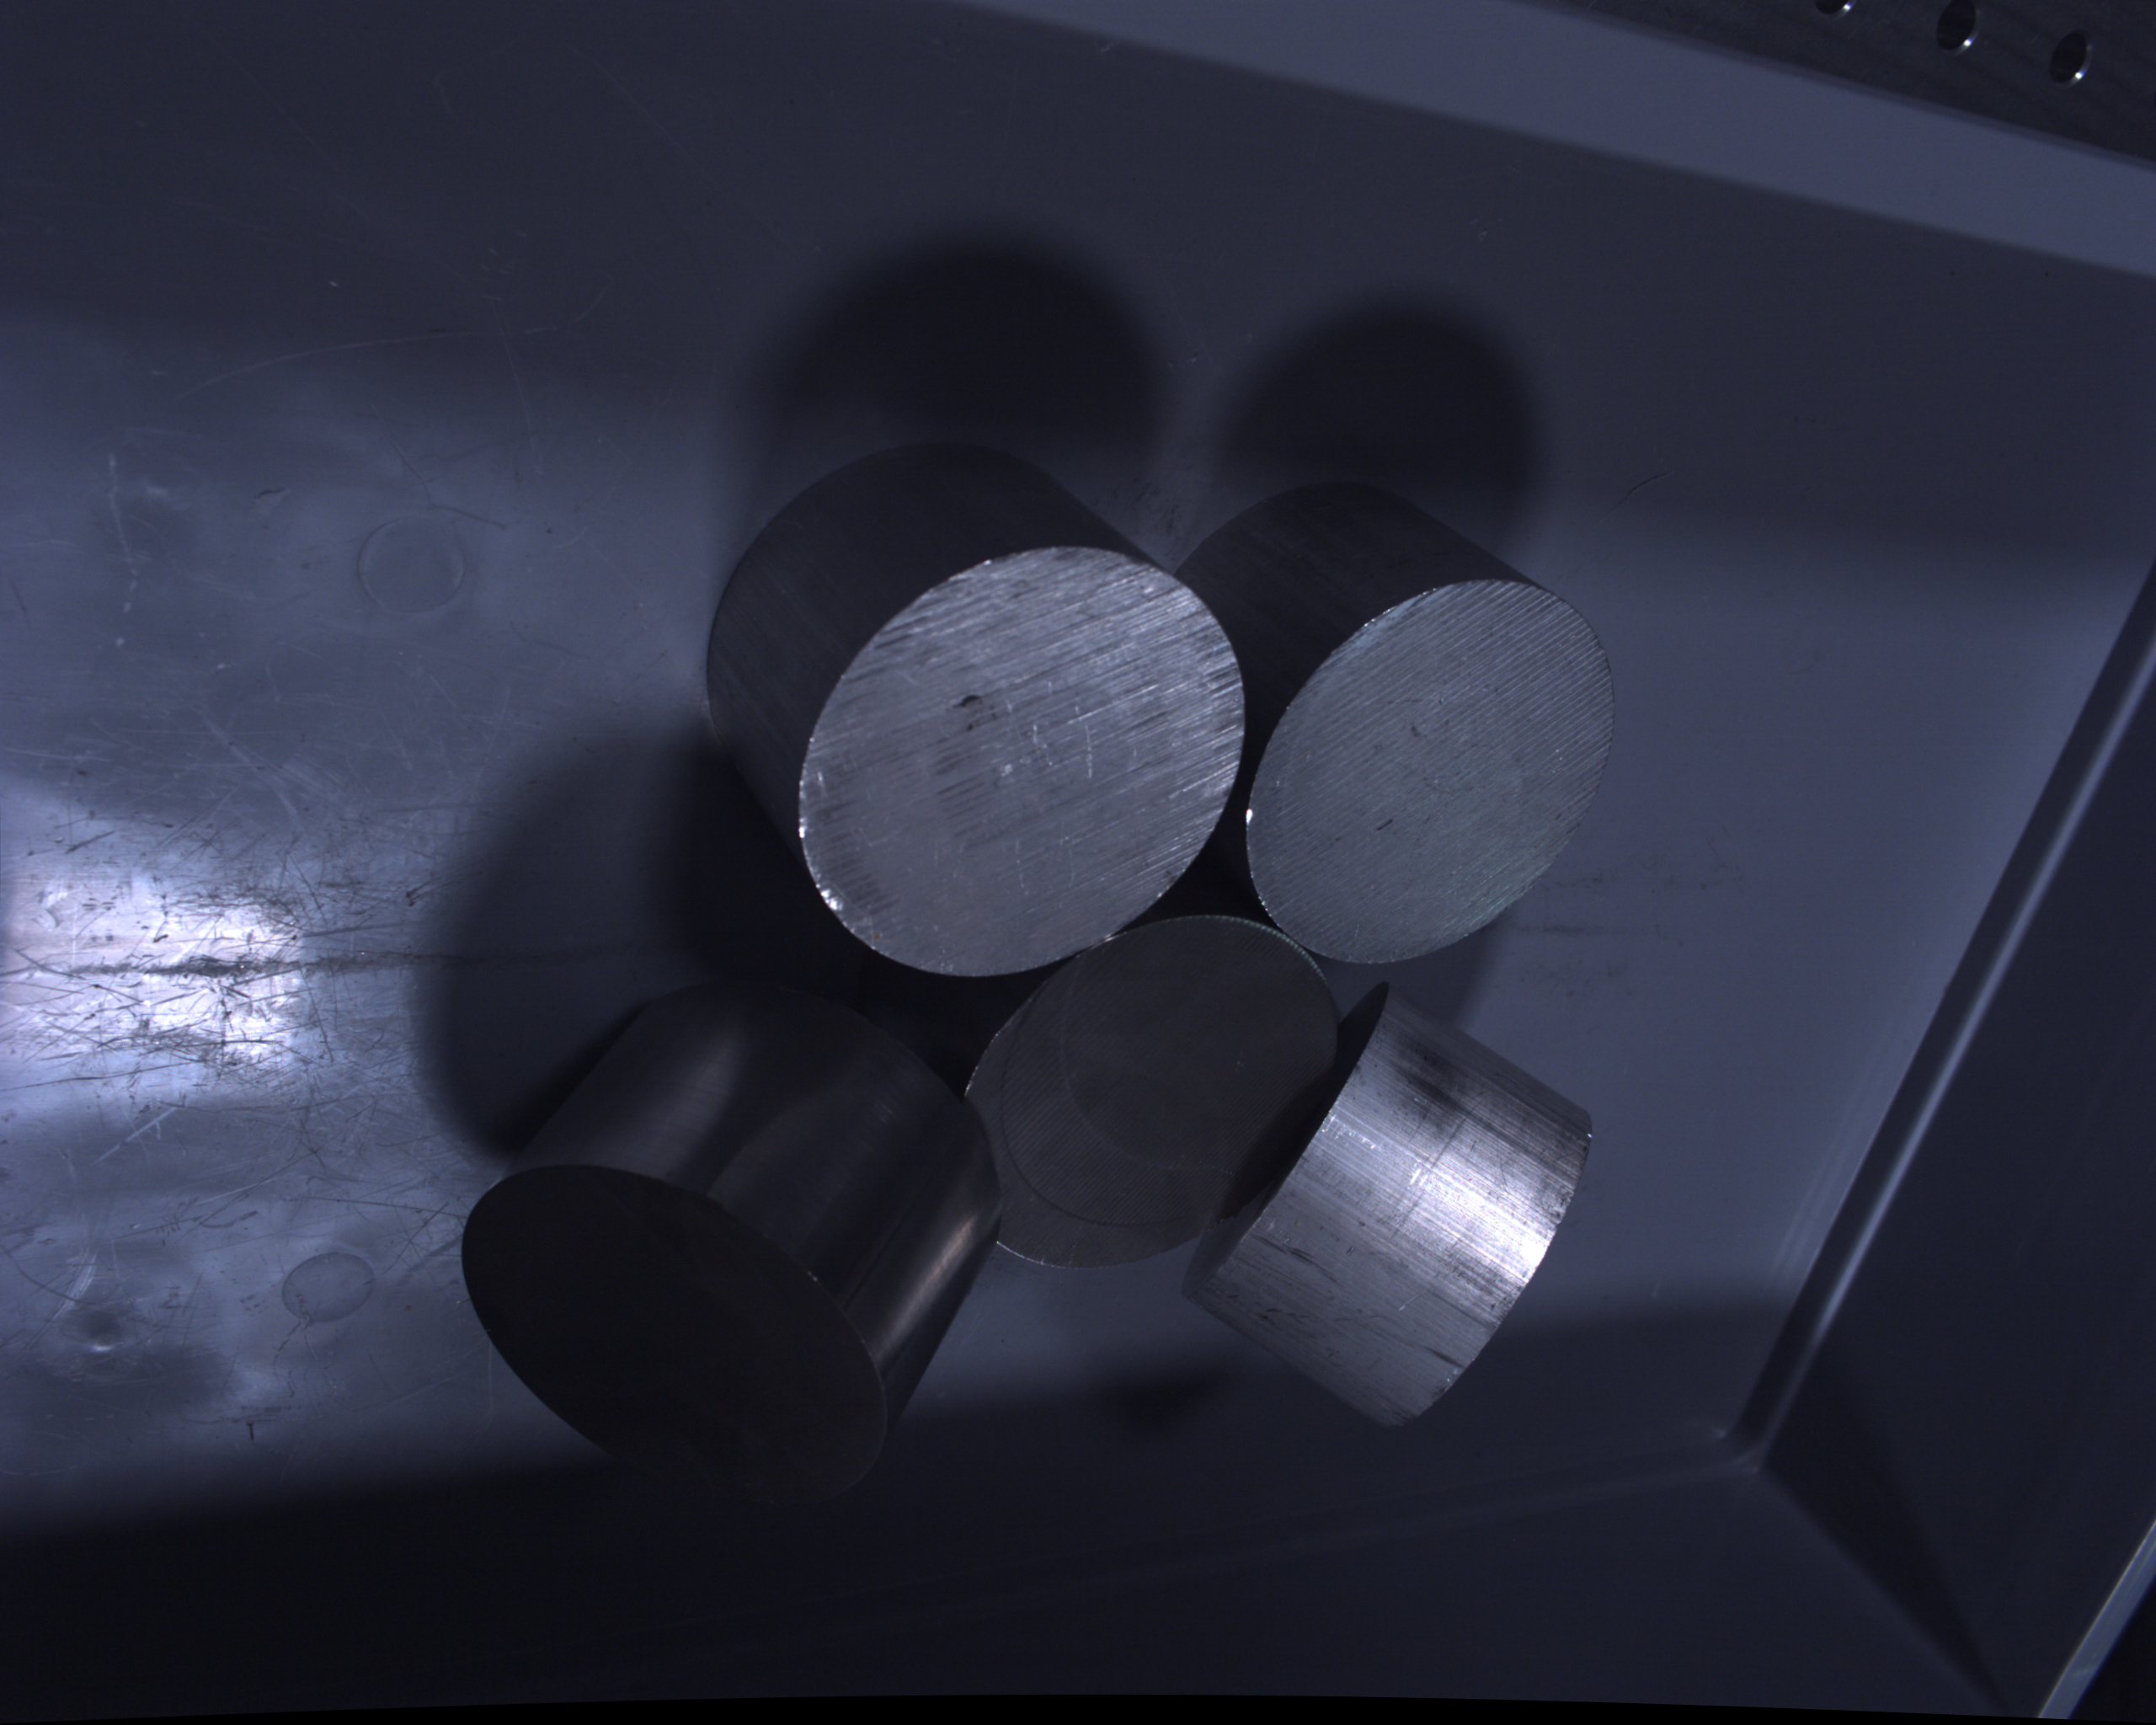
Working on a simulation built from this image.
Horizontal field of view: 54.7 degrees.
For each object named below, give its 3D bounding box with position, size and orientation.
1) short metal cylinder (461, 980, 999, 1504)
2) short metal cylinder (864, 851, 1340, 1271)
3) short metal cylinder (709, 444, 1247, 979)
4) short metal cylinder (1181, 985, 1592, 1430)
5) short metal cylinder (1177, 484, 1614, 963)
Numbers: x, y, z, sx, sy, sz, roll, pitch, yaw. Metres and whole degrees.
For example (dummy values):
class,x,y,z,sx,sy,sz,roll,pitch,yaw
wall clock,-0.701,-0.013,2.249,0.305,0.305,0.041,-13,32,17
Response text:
class,x,y,z,sx,sy,sz,roll,pitch,yaw
short metal cylinder,-0.061,0.068,0.374,0.050,0.080,0.079,-57,149,-50
short metal cylinder,0.004,0.033,0.413,0.081,0.050,0.079,-14,125,-21
short metal cylinder,-0.018,-0.027,0.364,0.081,0.050,0.079,-14,125,-21
short metal cylinder,0.065,0.073,0.445,0.050,0.080,0.080,33,103,1
short metal cylinder,0.056,-0.027,0.406,0.081,0.050,0.079,-14,125,-21
